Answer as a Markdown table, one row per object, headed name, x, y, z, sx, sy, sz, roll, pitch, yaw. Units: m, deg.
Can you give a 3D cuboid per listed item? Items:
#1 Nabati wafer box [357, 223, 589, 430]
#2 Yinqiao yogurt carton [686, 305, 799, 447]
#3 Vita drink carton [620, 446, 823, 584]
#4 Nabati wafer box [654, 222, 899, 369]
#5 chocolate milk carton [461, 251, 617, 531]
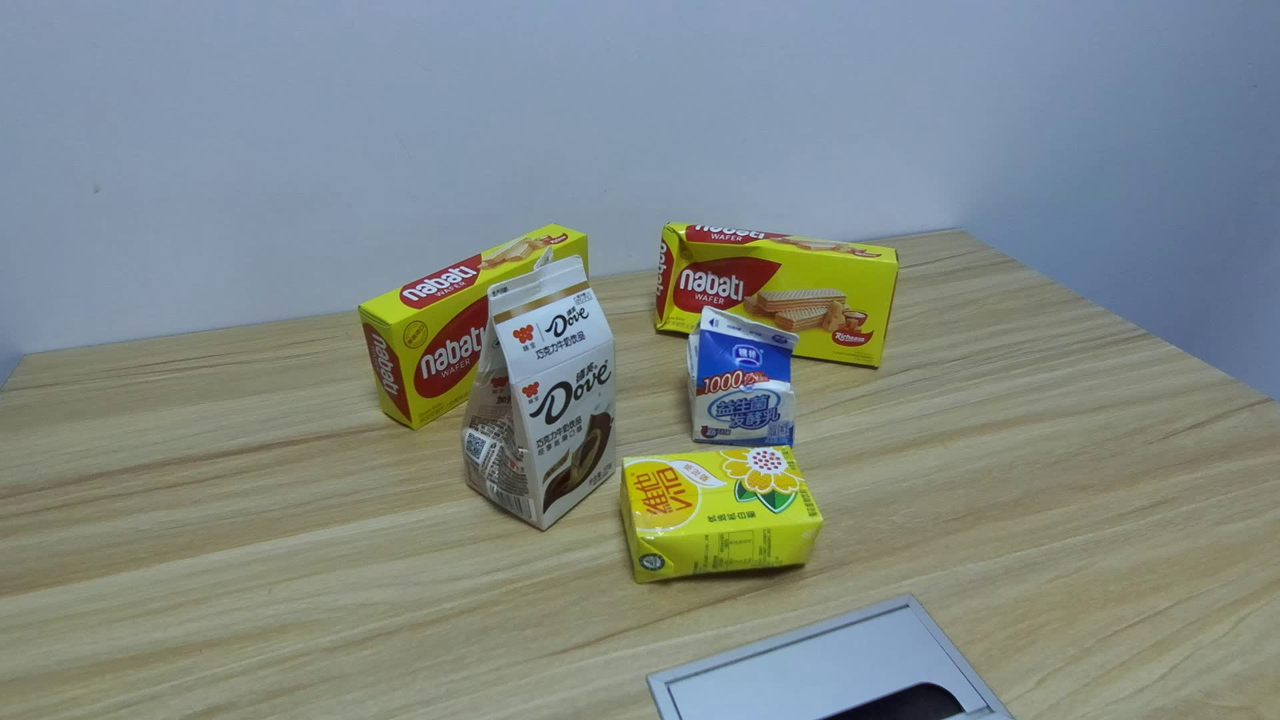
| name | x | y | z | sx | sy | sz | roll | pitch | yaw |
| --- | --- | --- | --- | --- | --- | --- | --- | --- | --- |
| Nabati wafer box | -0.121 | -0.034 | 0.575 | 0.042 | 0.093 | 0.203 | 23 | 39 | 31 |
| Yinqiao yogurt carton | 0.075 | 0.003 | 0.511 | 0.083 | 0.093 | 0.077 | 4 | 35 | 5 |
| Vita drink carton | 0.046 | 0.093 | 0.422 | 0.109 | 0.043 | 0.076 | -2 | 36 | -9 |
| Nabati wafer box | 0.113 | -0.058 | 0.612 | 0.203 | 0.096 | 0.042 | 10 | 24 | 12 |
| chocolate milk carton | -0.066 | 0.016 | 0.438 | 0.072 | 0.155 | 0.084 | 23 | 38 | 31 |
